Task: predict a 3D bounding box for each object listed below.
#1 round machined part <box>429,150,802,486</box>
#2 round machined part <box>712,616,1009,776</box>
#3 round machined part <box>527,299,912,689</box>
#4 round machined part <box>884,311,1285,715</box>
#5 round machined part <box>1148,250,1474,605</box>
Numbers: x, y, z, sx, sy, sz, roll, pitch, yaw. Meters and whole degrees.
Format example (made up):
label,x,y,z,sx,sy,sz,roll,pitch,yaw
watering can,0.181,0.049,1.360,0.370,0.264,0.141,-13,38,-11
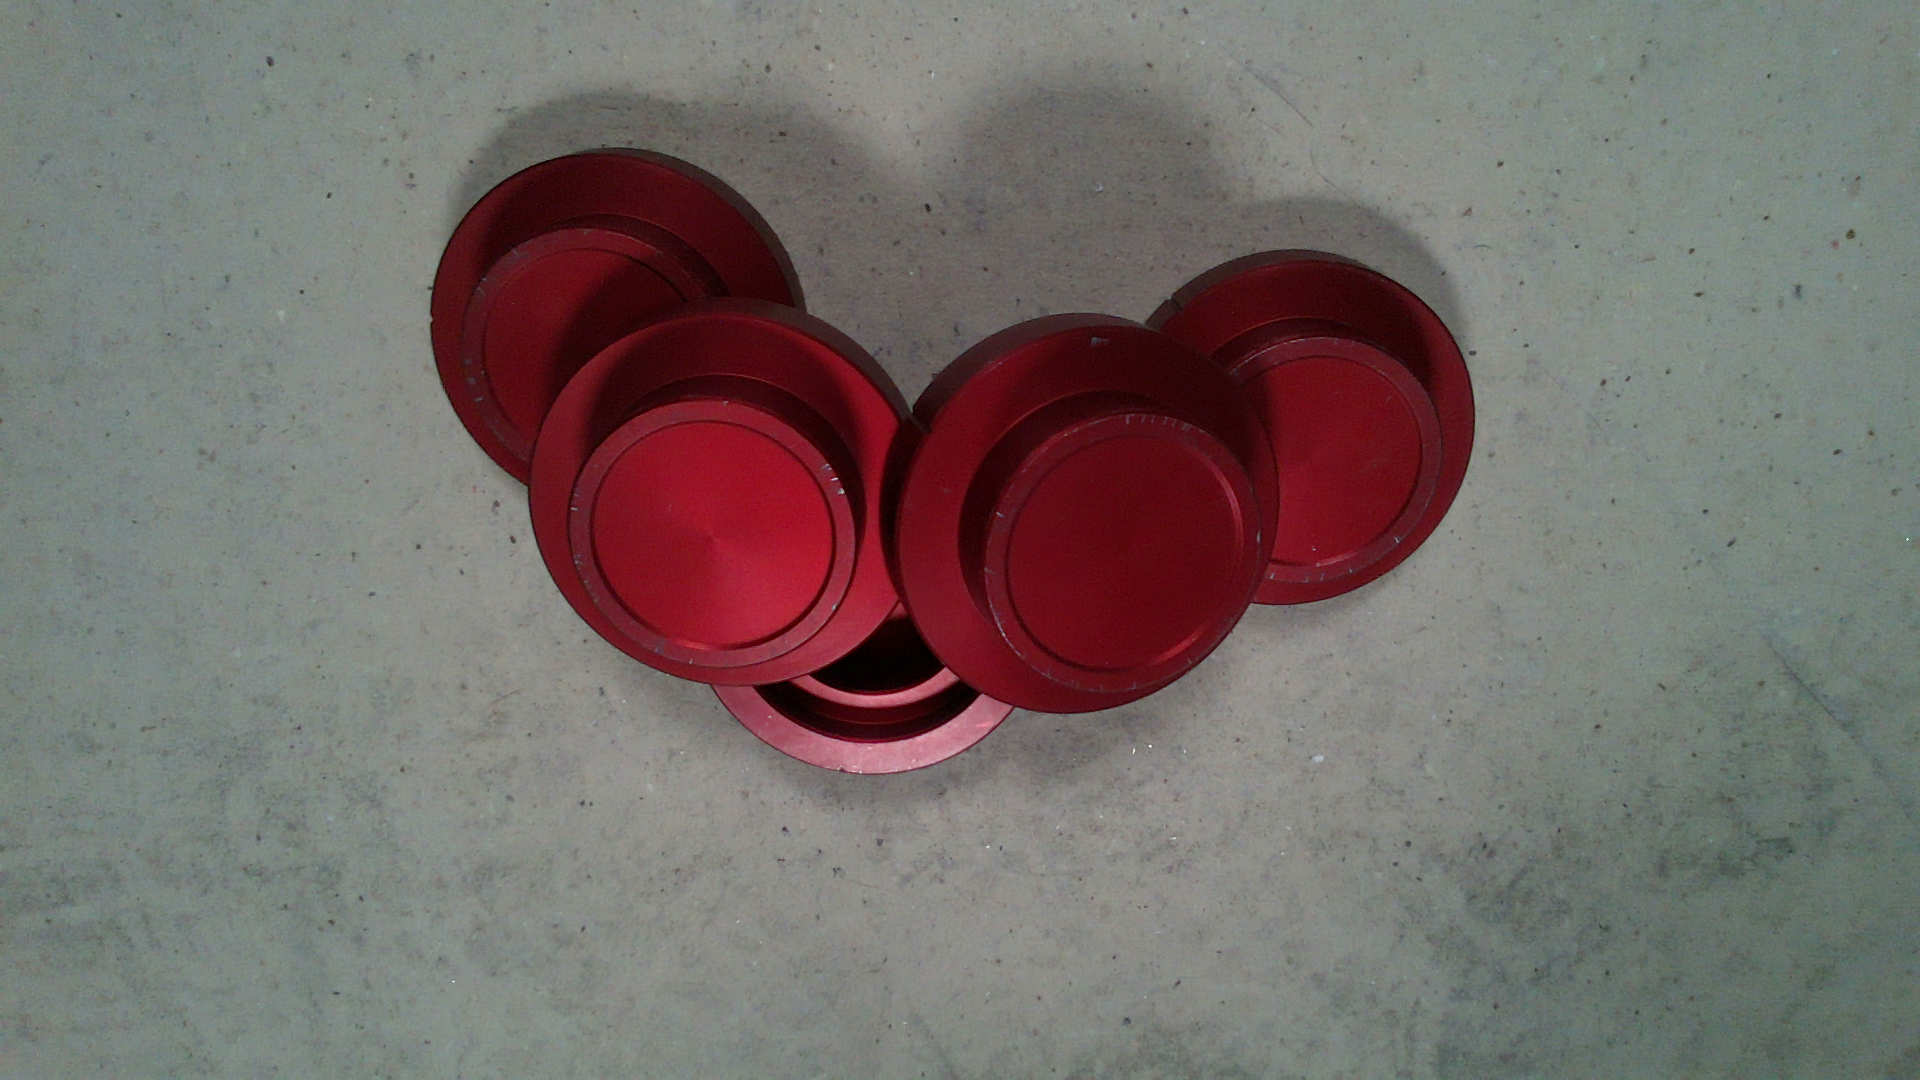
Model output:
label,x,y,z,sx,sy,sz,roll,pitch,yaw
round machined part,-0.092,-0.052,0.365,0.098,0.042,0.098,0,110,0
round machined part,-0.025,0.014,0.390,0.098,0.042,0.098,0,110,0
round machined part,-0.057,-0.007,0.337,0.098,0.042,0.098,0,110,0
round machined part,0.033,-0.002,0.328,0.098,0.042,0.098,-4,109,-13
round machined part,0.091,-0.027,0.375,0.098,0.042,0.098,0,110,0
